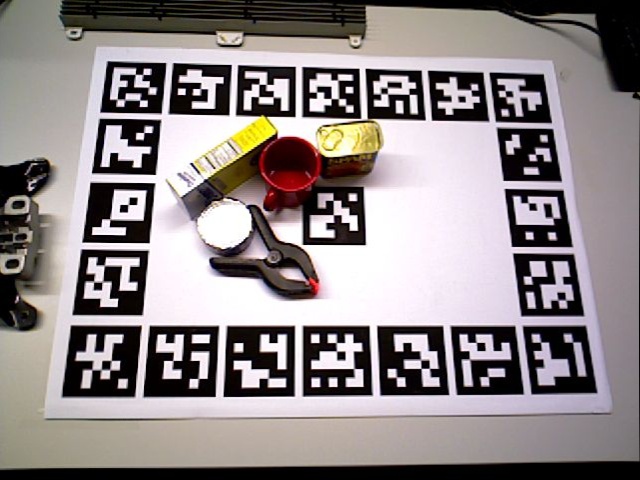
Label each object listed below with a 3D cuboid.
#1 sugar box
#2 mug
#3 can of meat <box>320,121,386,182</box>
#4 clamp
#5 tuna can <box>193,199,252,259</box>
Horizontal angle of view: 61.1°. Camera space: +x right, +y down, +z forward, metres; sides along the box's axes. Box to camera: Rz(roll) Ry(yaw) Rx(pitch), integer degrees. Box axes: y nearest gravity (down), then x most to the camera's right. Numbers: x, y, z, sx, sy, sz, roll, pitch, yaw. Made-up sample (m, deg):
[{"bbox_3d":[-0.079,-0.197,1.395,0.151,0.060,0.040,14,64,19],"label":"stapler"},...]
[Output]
[{"bbox_3d":[-0.142,-0.106,0.820,0.174,0.094,0.045,-36,76,-15],"label":"sugar box"},{"bbox_3d":[-0.049,-0.091,0.818,0.093,0.082,0.116,25,74,3],"label":"mug"},{"bbox_3d":[0.049,-0.136,0.845,0.101,0.085,0.057,-7,71,-8],"label":"can of meat"},{"bbox_3d":[-0.069,0.040,0.810,0.165,0.037,0.120,35,70,3],"label":"clamp"},{"bbox_3d":[-0.146,-0.015,0.817,0.085,0.034,0.085,1,75,-3],"label":"tuna can"}]
